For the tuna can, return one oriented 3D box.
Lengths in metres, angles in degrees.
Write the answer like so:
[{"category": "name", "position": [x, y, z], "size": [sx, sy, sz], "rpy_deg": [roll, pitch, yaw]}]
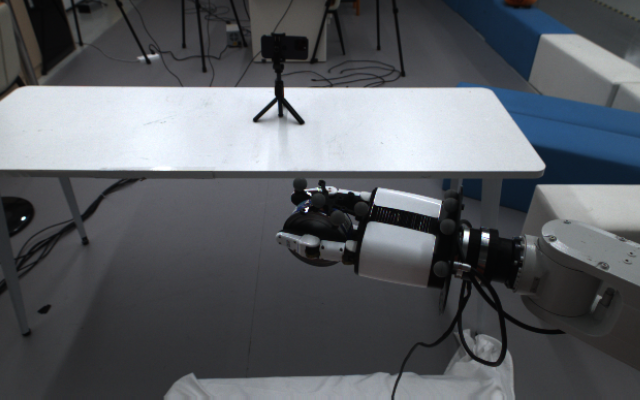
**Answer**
[{"category": "tuna can", "position": [0.001, 0.040, 0.615], "size": [0.085, 0.085, 0.034], "rpy_deg": [12, 33, 14]}]
